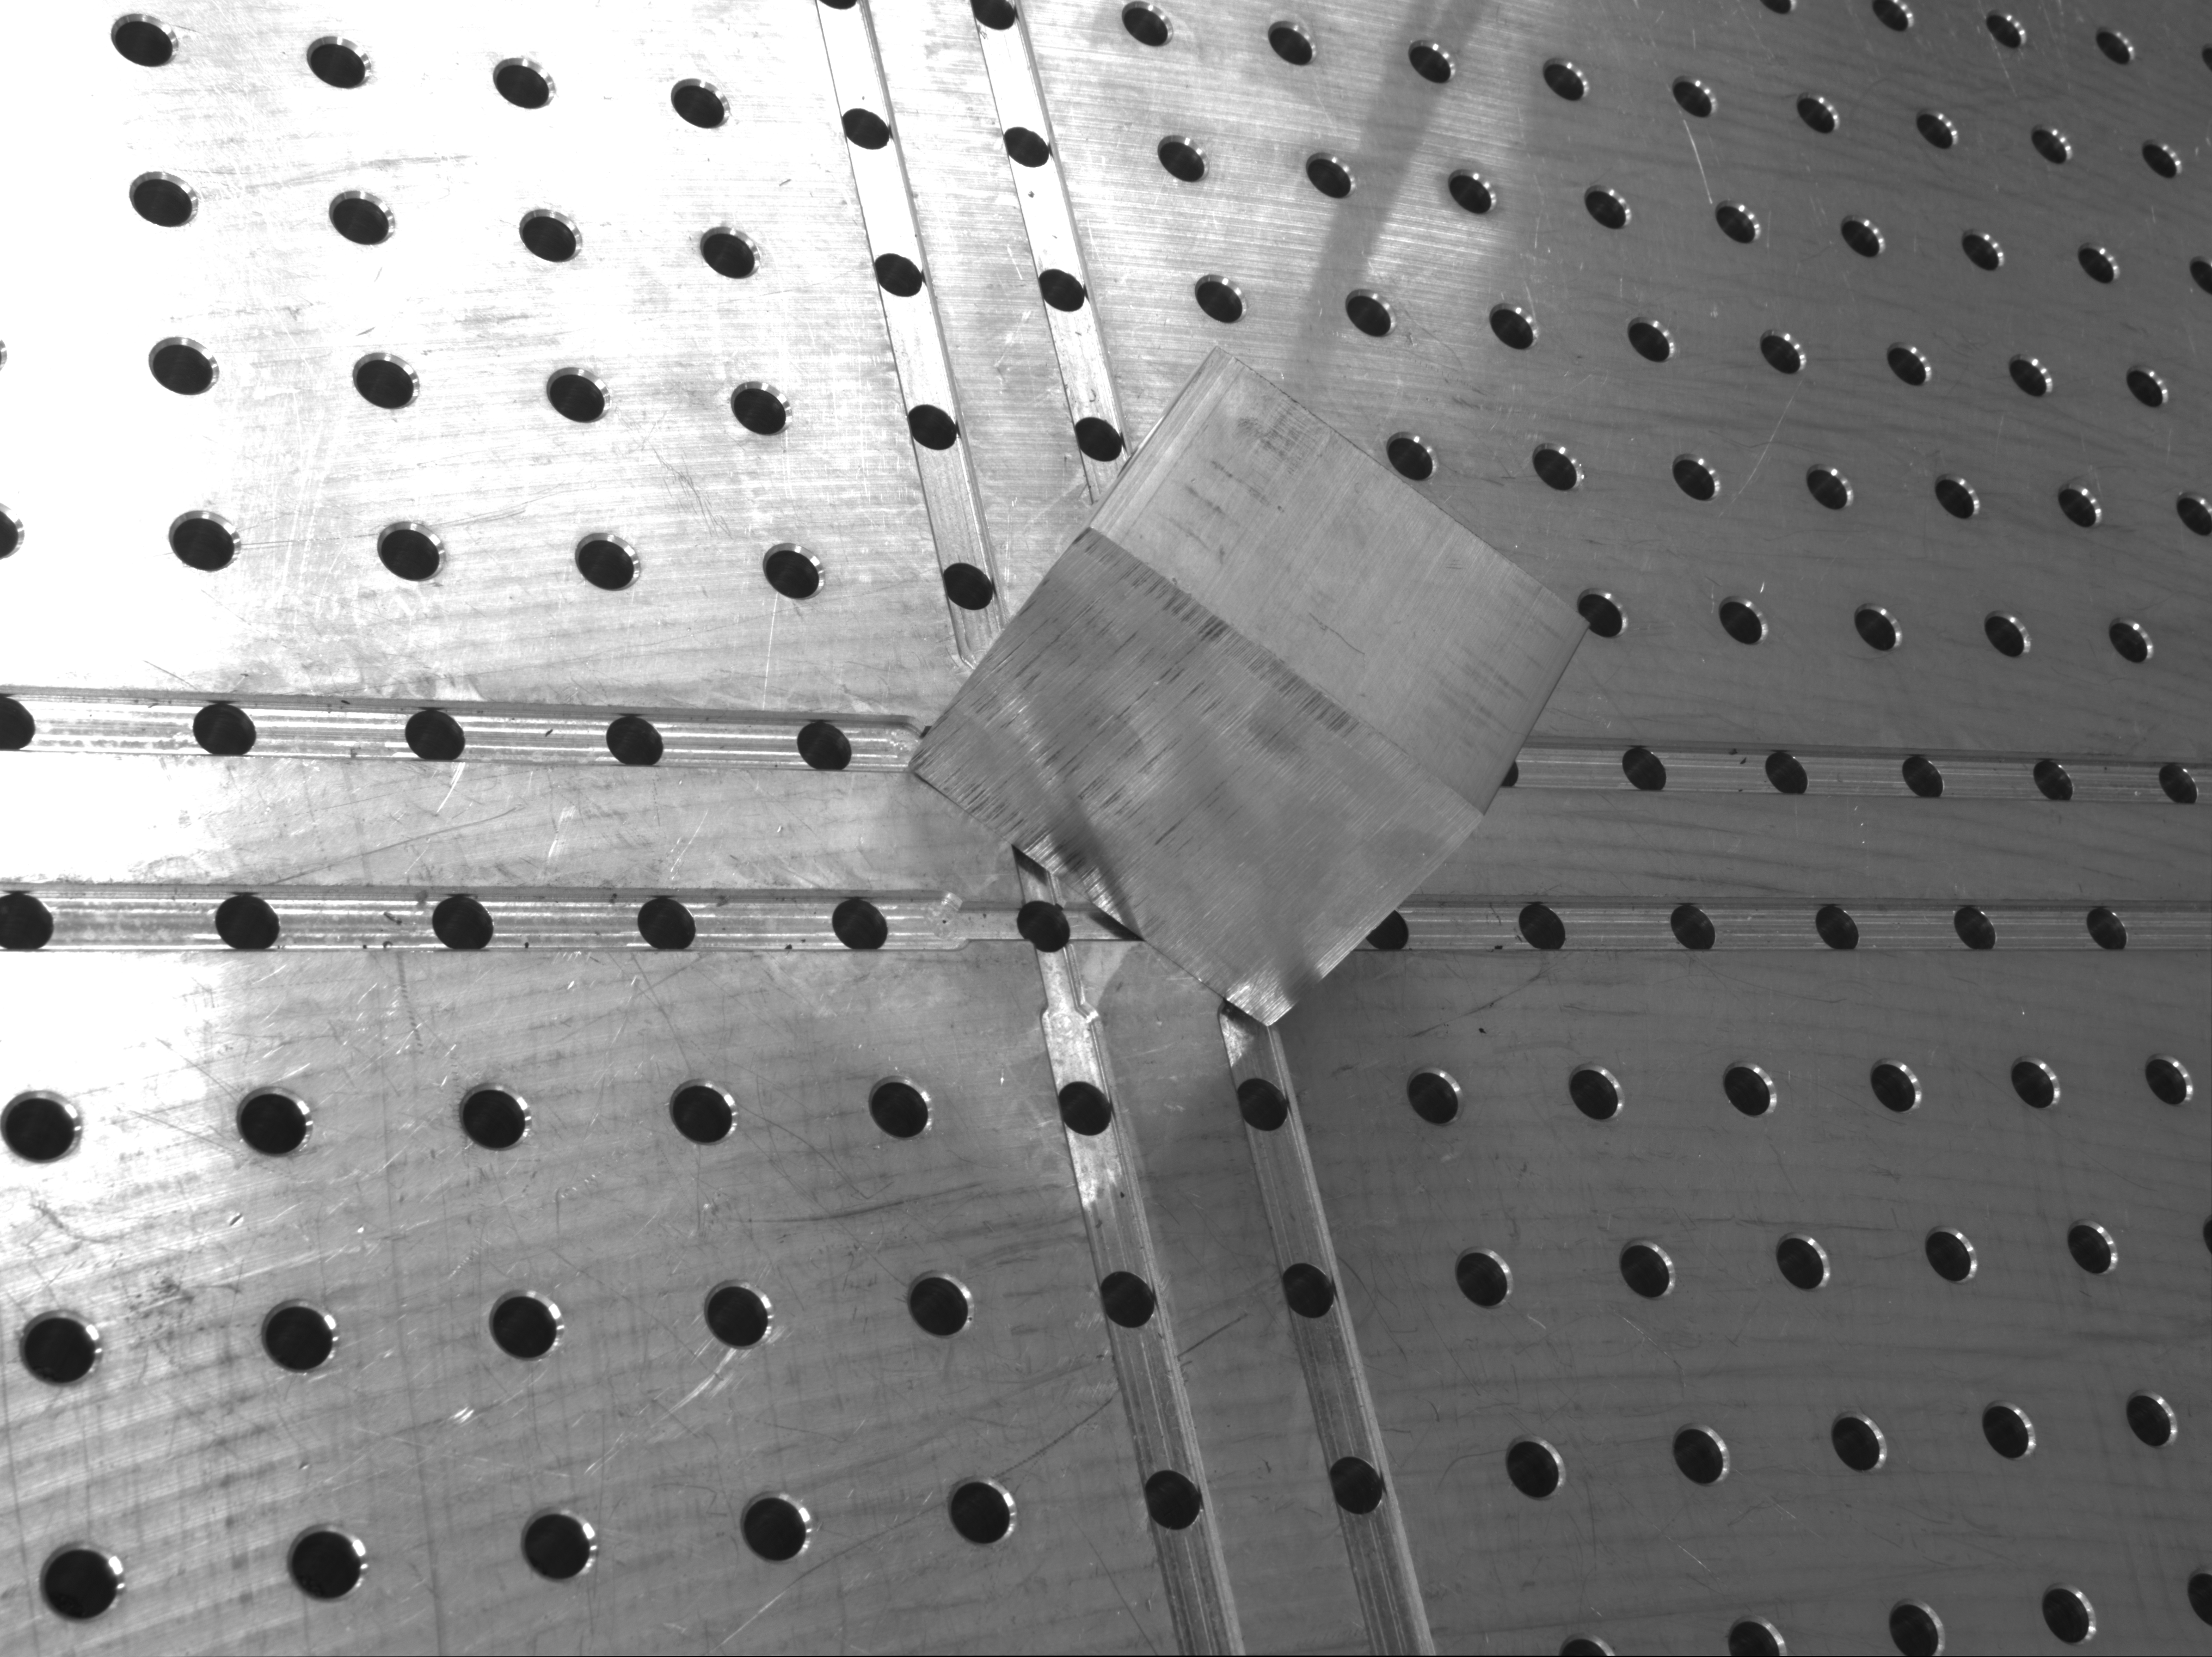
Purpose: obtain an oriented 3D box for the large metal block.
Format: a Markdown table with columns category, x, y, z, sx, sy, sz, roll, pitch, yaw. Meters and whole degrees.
| category | x | y | z | sx | sy | sz | roll | pitch | yaw |
| --- | --- | --- | --- | --- | --- | --- | --- | --- | --- |
| large metal block | 0.023 | -0.023 | 0.633 | 0.080 | 0.080 | 0.050 | 36 | 51 | -4 |
